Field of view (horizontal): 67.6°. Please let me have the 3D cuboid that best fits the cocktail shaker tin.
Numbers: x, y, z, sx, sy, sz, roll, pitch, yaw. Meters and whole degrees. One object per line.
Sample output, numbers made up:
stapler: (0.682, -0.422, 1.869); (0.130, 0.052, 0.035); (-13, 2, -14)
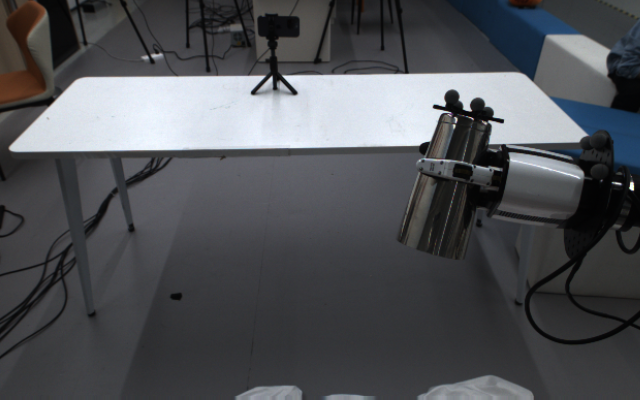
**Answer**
cocktail shaker tin: (0.166, -0.020, 0.621); (0.093, 0.170, 0.093); (14, 6, -2)
